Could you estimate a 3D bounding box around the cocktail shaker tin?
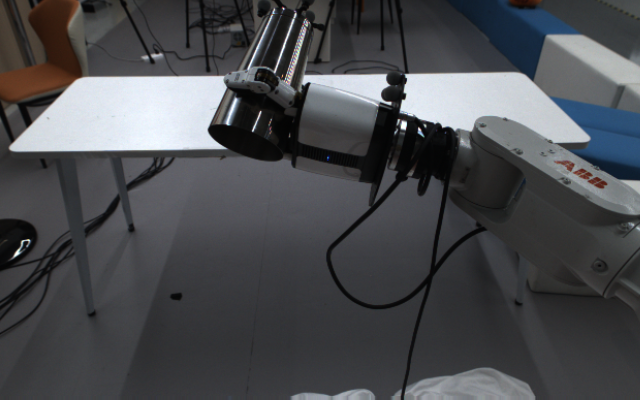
[{"bbox_3d":[-0.063,-0.144,0.588,0.093,0.093,0.170,13,73,15],"label":"cocktail shaker tin"}]
